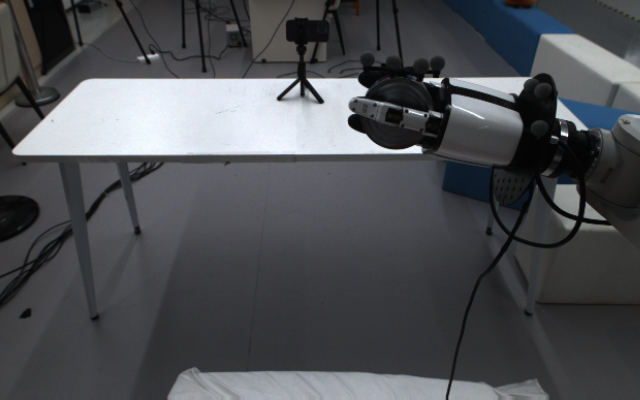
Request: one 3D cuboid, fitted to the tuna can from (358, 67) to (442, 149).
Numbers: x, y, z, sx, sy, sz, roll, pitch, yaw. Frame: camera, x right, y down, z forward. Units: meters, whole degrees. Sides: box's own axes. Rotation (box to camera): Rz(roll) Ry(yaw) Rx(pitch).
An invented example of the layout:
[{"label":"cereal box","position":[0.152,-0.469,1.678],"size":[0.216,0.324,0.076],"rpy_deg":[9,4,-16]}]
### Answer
[{"label":"tuna can","position":[0.093,-0.107,0.581],"size":[0.085,0.085,0.034],"rpy_deg":[7,23,6]}]
